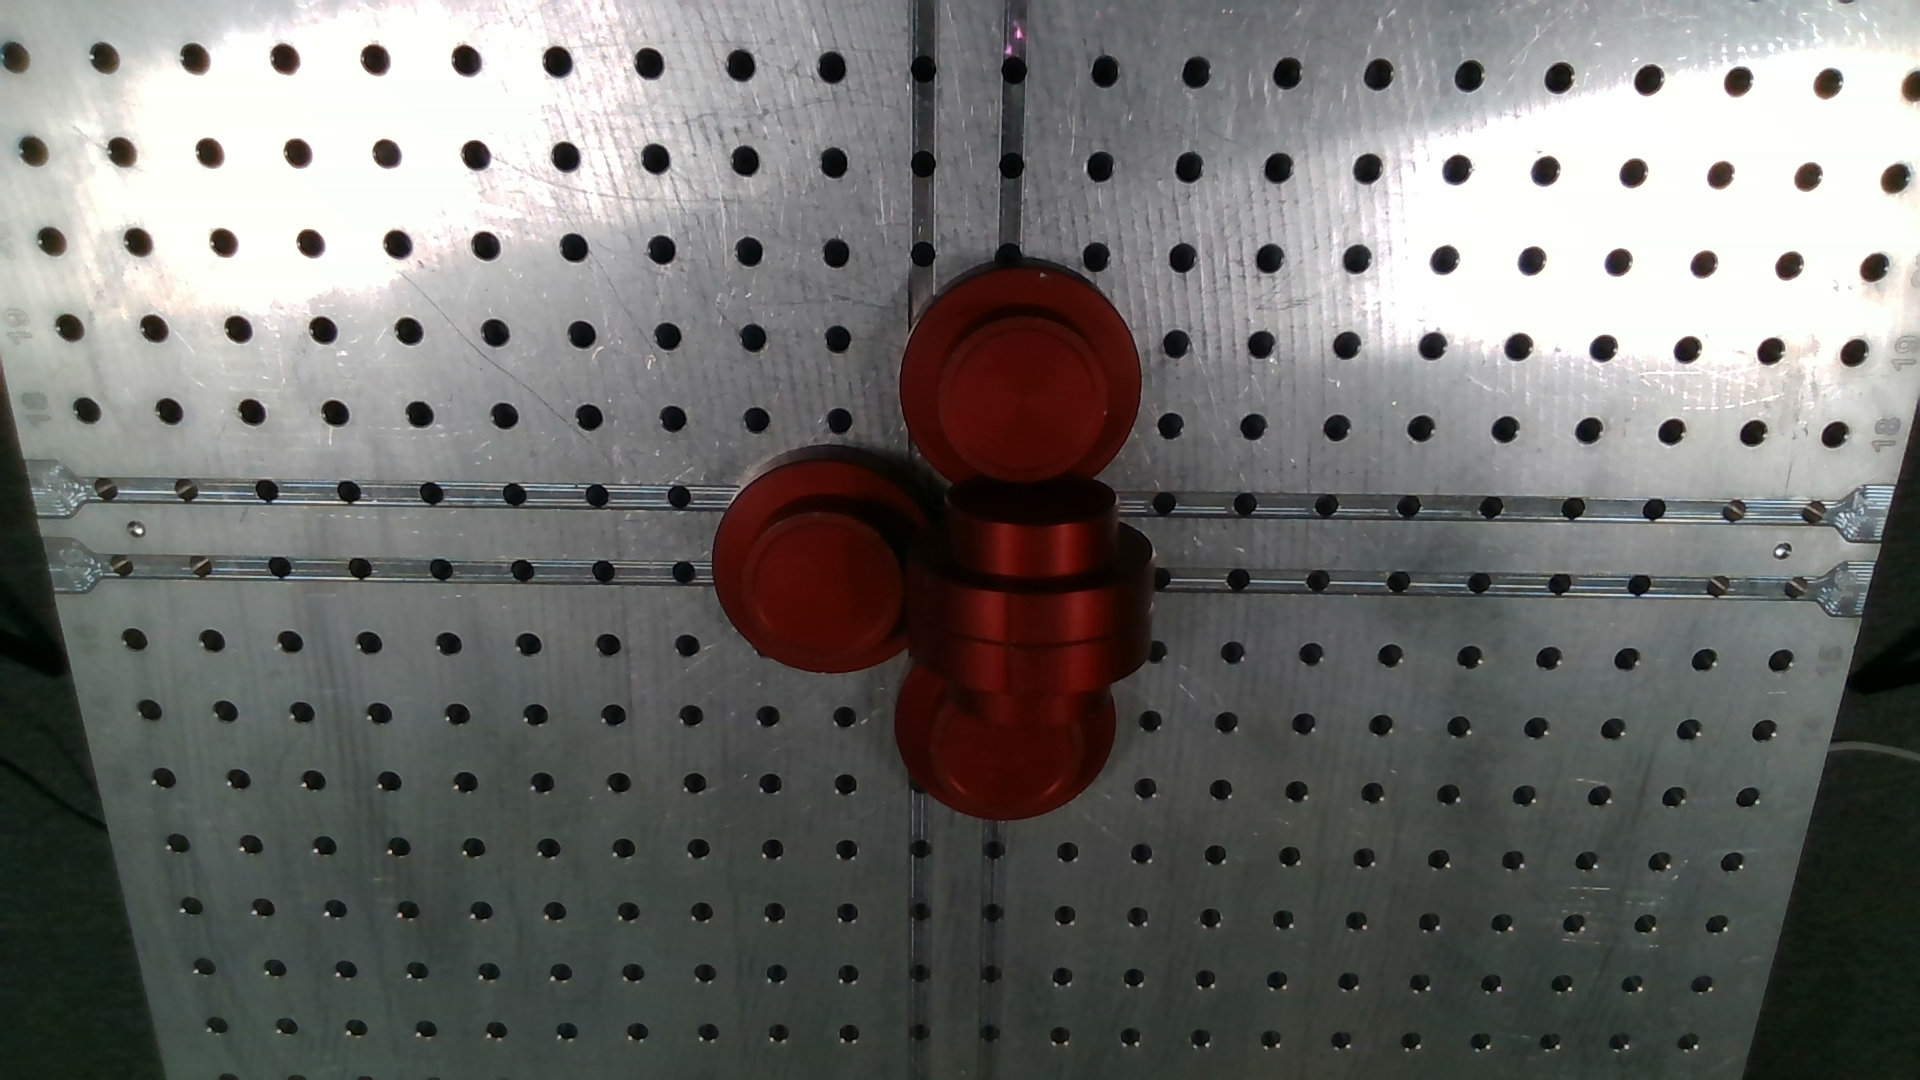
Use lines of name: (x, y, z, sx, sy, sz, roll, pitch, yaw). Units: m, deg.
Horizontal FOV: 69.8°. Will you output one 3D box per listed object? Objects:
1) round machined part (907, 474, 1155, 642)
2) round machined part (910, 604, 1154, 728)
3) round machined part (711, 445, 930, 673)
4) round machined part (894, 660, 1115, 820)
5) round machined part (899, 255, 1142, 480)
round machined part: (0.028, 0.001, 0.542, 0.098, 0.098, 0.042, 1, 110, 0)
round machined part: (0.029, 0.042, 0.558, 0.098, 0.098, 0.042, -1, 110, 0)
round machined part: (-0.057, 0.012, 0.582, 0.098, 0.042, 0.098, 0, 110, 0)
round machined part: (0.020, 0.082, 0.608, 0.098, 0.042, 0.098, 0, 110, 0)
round machined part: (0.024, -0.062, 0.555, 0.098, 0.042, 0.098, 0, 110, 0)
